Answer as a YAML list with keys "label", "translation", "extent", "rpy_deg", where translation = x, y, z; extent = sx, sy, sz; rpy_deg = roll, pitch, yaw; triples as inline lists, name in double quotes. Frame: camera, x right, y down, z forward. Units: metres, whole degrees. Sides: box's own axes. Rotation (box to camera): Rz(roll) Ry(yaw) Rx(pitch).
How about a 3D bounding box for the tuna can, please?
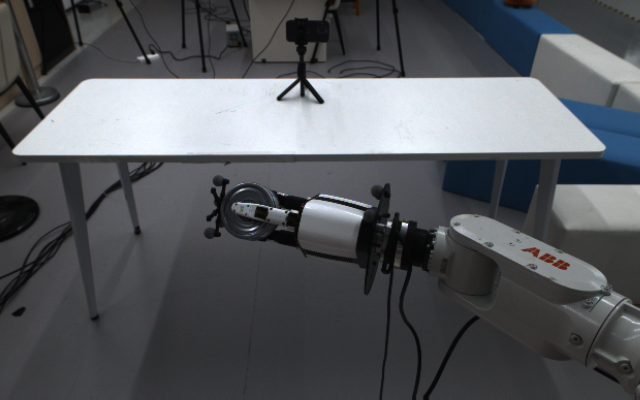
- label: "tuna can"
  translation: [-0.101, 0.016, 0.717]
  extent: [0.085, 0.085, 0.034]
  rpy_deg: [10, -6, 11]
